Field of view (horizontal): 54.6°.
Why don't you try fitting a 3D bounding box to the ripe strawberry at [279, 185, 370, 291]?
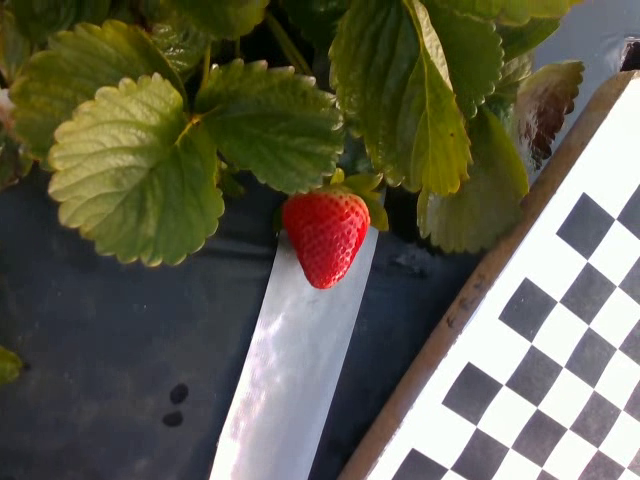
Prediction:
[{"bbox_3d":[0.005,0.001,0.253,0.050,0.055,0.035,29,-17,-27],"label":"ripe strawberry"}]
